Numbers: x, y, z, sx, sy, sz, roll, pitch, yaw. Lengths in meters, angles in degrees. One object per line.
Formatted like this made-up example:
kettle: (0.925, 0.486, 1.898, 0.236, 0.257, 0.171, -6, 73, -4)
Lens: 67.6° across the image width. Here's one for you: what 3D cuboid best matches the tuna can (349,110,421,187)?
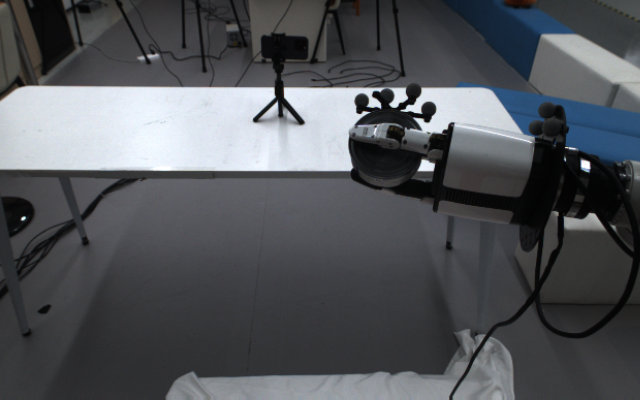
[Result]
tuna can: (0.077, -0.062, 0.559, 0.085, 0.034, 0.085, -2, 70, 7)
